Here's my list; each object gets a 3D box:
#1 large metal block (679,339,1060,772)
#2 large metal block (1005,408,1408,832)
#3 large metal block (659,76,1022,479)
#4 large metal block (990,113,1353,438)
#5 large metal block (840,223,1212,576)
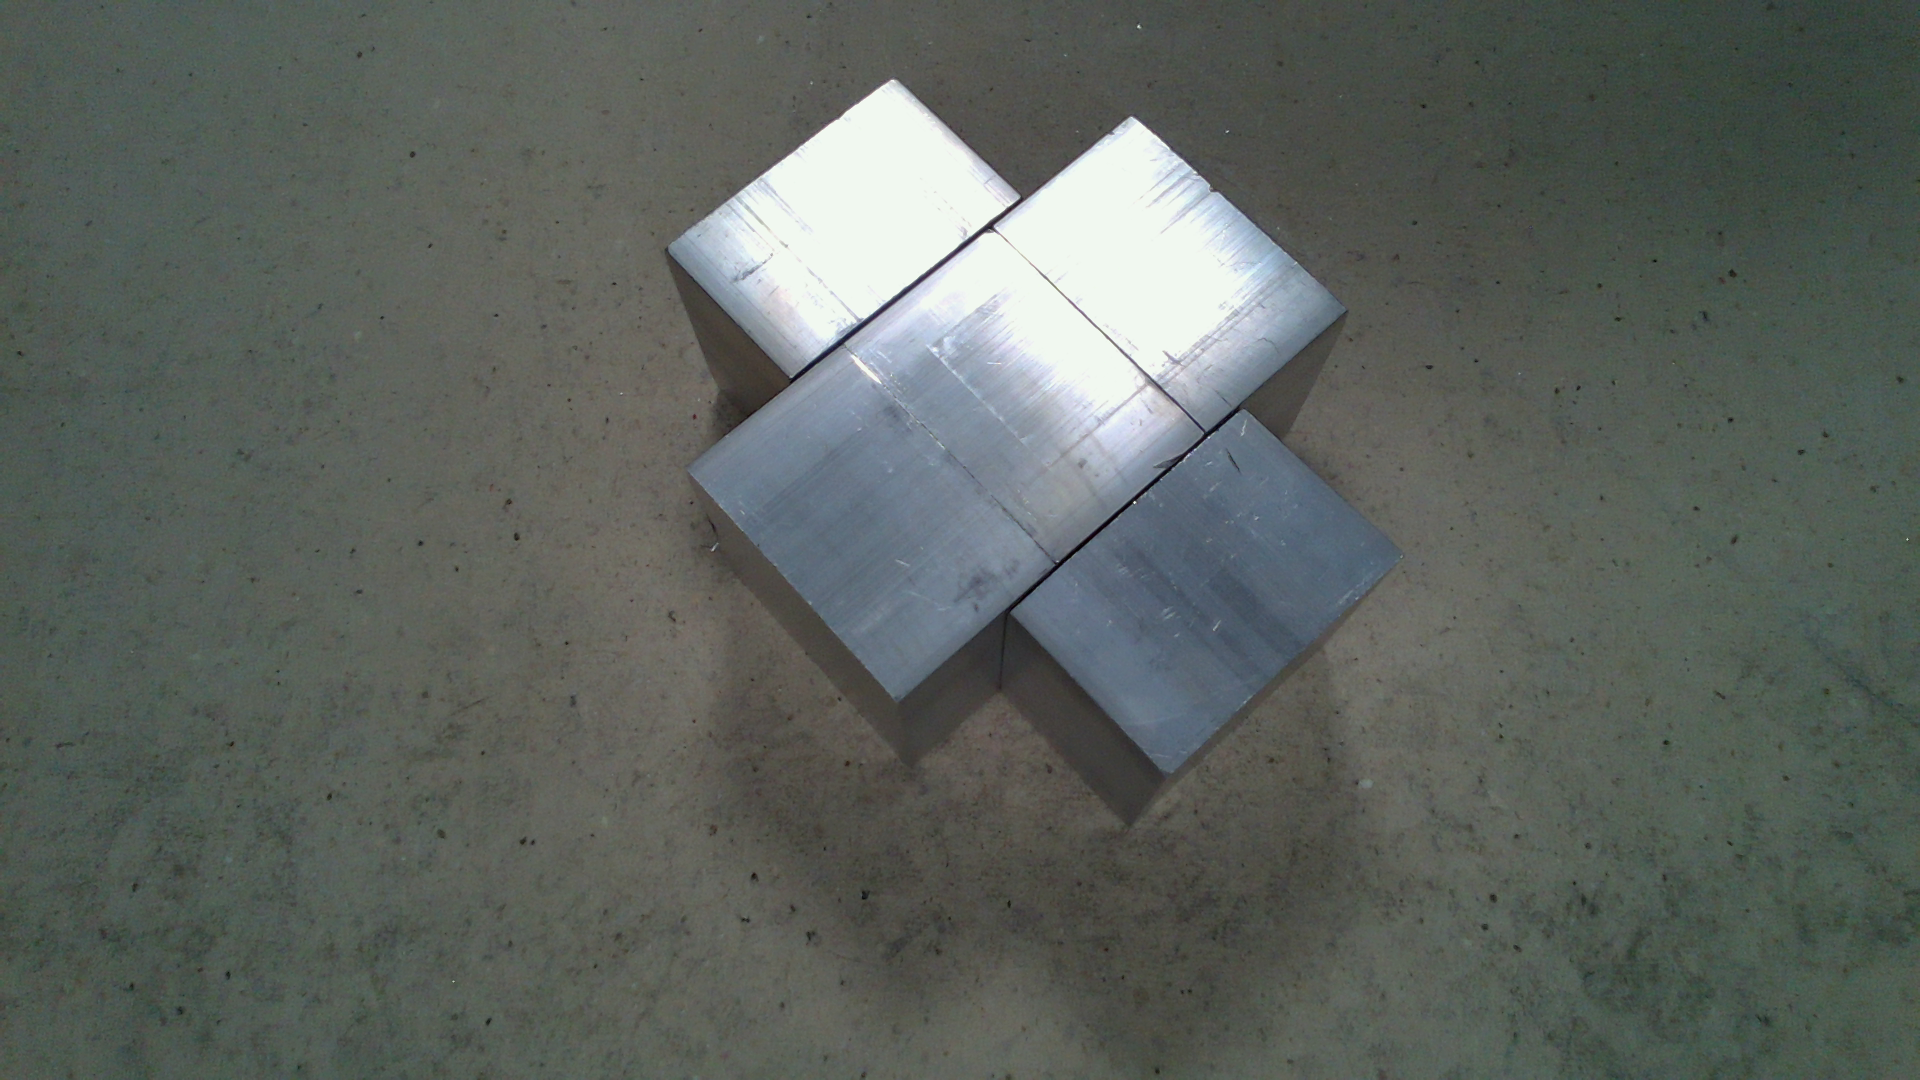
[{"bbox_3d":[-0.022,0.007,0.363,0.050,0.080,0.080,-40,75,-13],"label":"large metal block"},{"bbox_3d":[0.059,0.024,0.357,0.080,0.080,0.050,-40,75,-13],"label":"large metal block"},{"bbox_3d":[-0.030,-0.068,0.391,0.080,0.080,0.050,-40,75,-13],"label":"large metal block"},{"bbox_3d":[0.053,-0.056,0.387,0.050,0.080,0.080,-40,75,-13],"label":"large metal block"},{"bbox_3d":[0.016,-0.024,0.375,0.050,0.080,0.080,-40,75,-13],"label":"large metal block"}]
